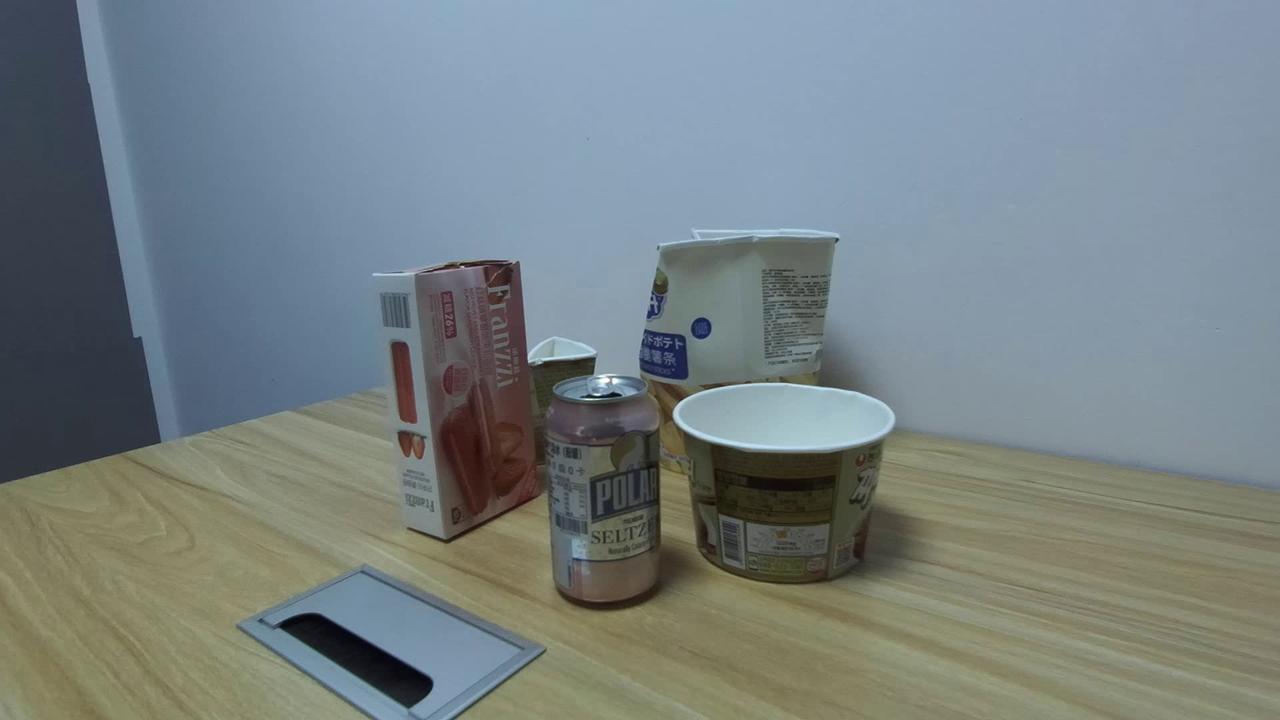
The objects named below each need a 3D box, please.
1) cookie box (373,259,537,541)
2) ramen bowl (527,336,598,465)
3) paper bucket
[{"bbox_3d":[-0.126,0.022,0.519,0.048,0.187,0.105,7,16,35],"label":"cookie box"},{"bbox_3d":[-0.111,0.036,0.662,0.129,0.093,0.111,-8,15,-32],"label":"ramen bowl"},{"bbox_3d":[0.073,-0.016,0.634,0.169,0.202,0.162,-2,12,-16],"label":"paper bucket"}]
